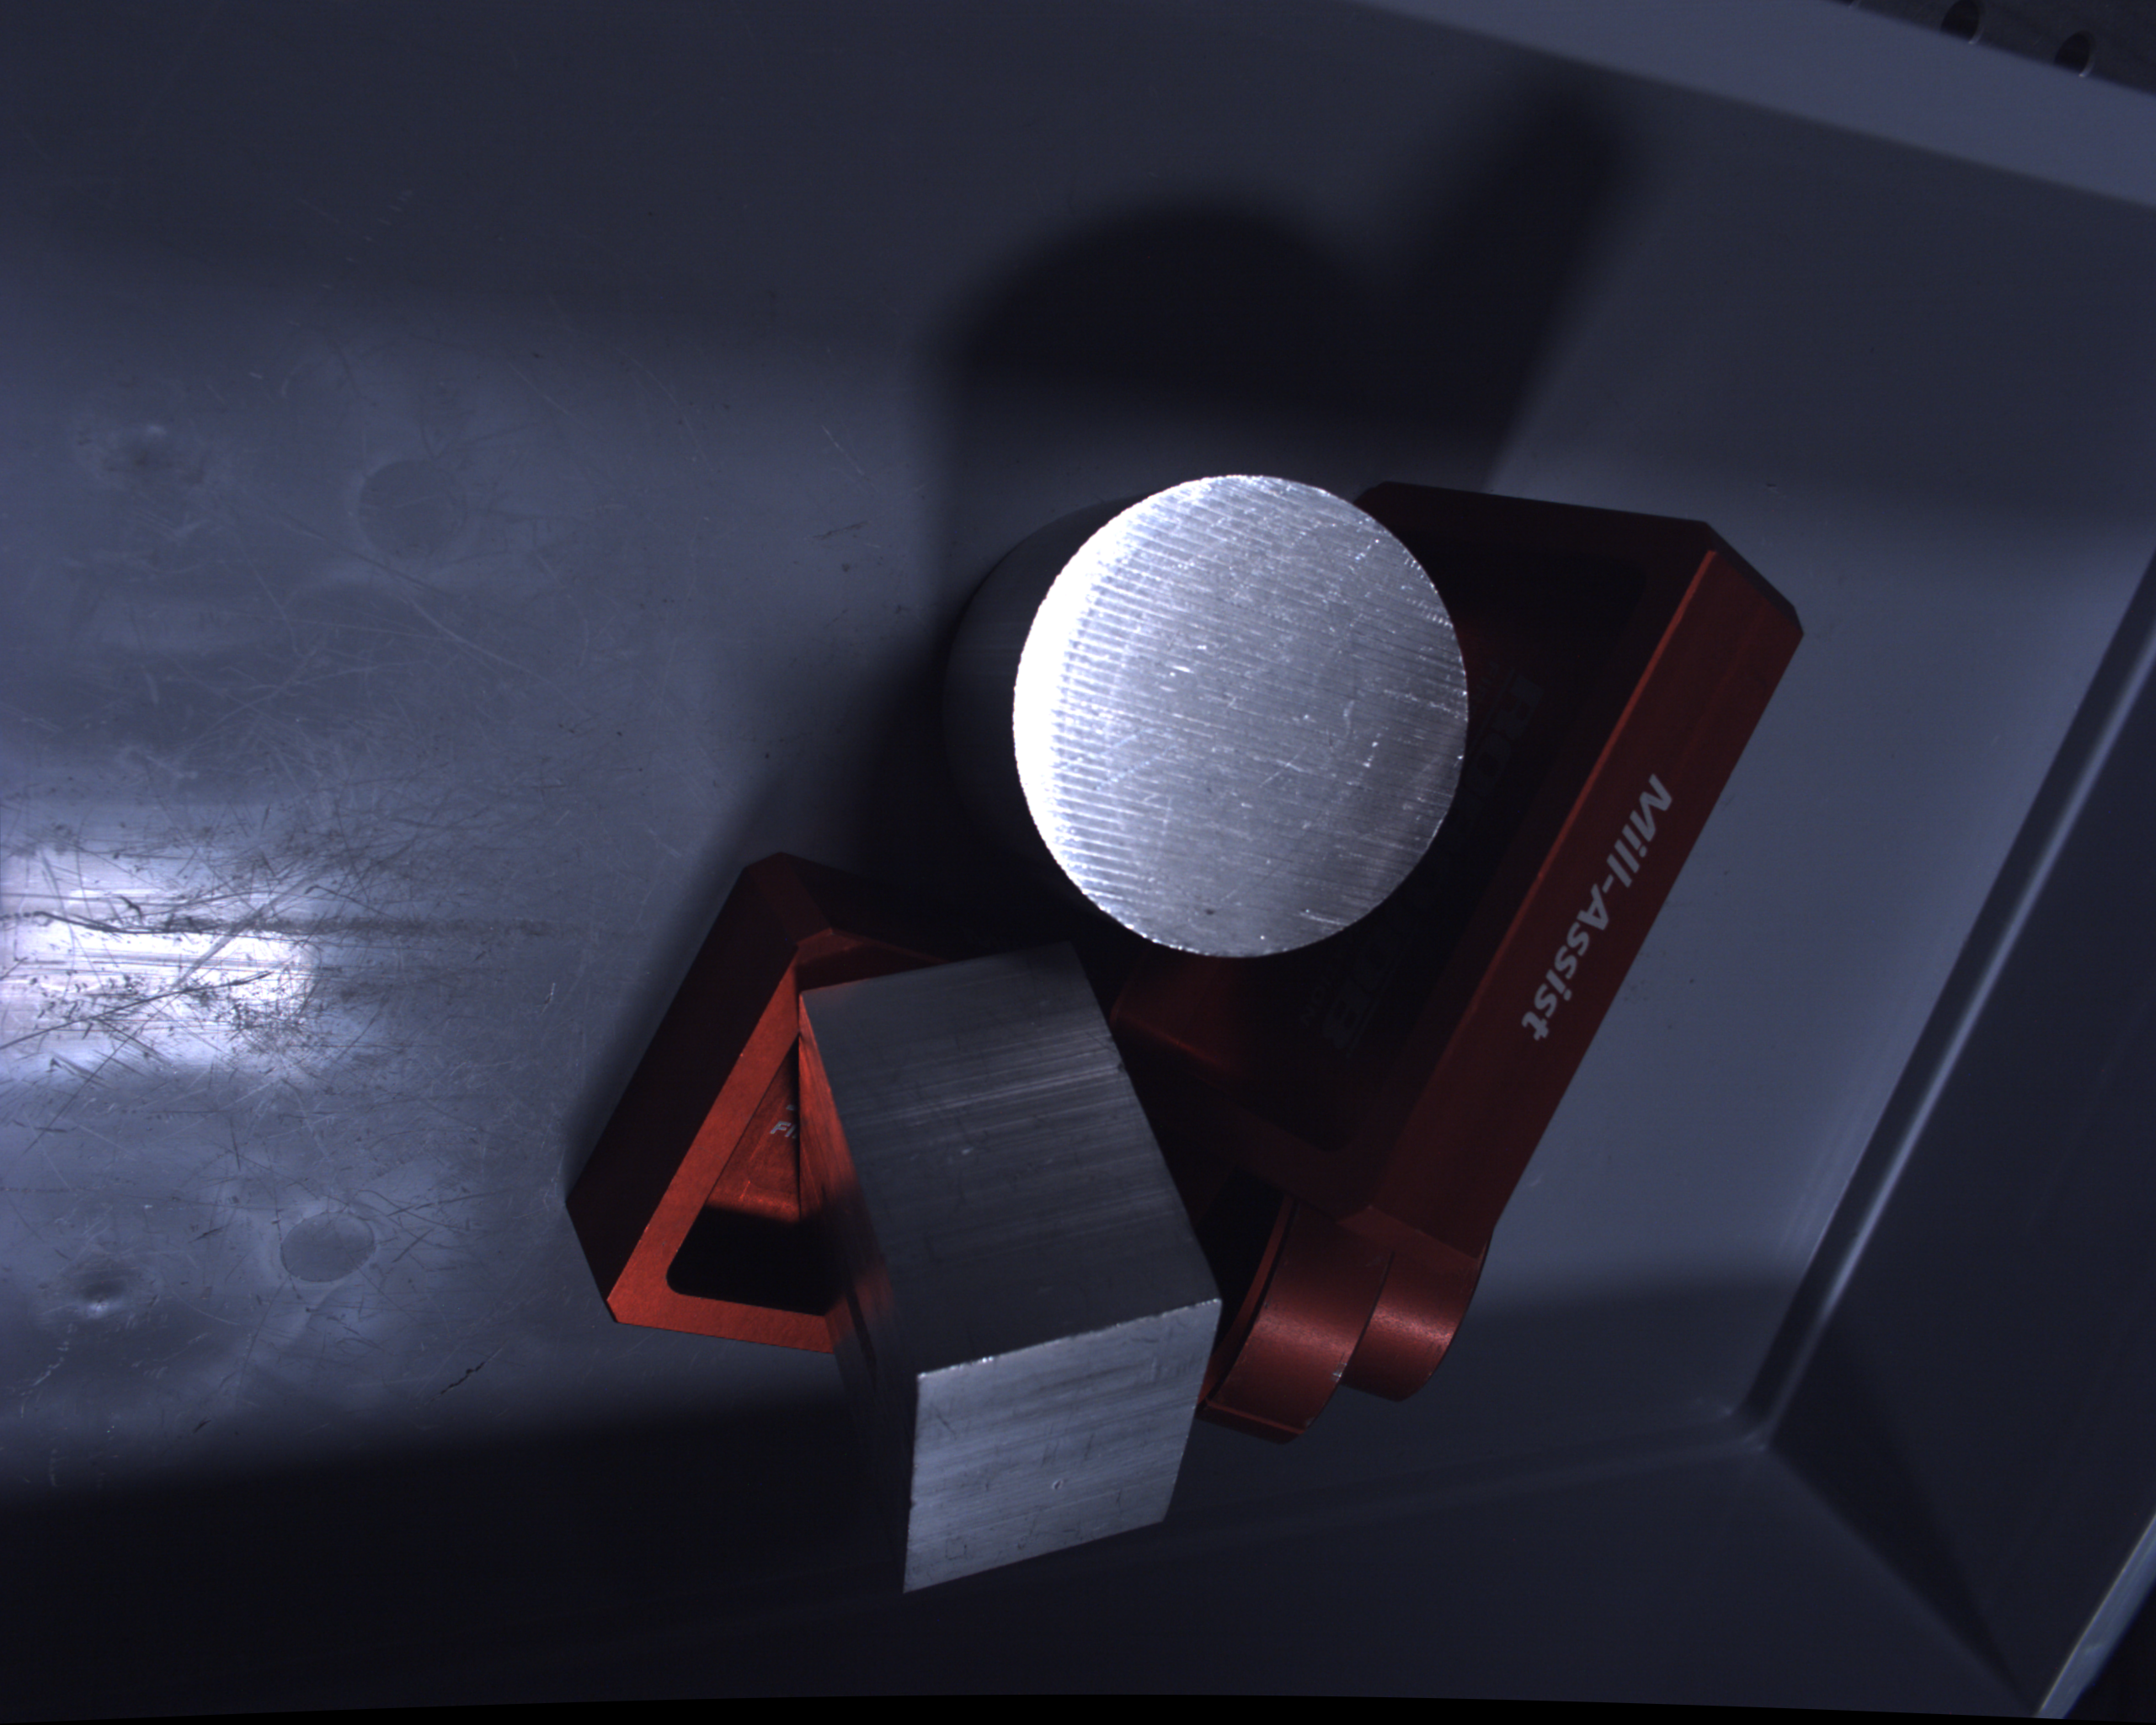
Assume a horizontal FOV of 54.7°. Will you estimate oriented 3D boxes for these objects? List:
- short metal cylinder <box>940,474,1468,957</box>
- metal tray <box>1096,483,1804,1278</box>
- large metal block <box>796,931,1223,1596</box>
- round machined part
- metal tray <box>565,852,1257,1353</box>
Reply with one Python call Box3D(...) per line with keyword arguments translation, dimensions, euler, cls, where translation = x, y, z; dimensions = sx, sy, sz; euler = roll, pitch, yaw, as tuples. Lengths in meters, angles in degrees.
Box3D(translation=(0.021, -0.026, 0.368), dimensions=(0.081, 0.050, 0.079), euler=(-2, 96, -17), cls="short metal cylinder")
Box3D(translation=(0.061, -0.002, 0.378), dimensions=(0.030, 0.090, 0.130), euler=(31, 85, -35), cls="metal tray")
Box3D(translation=(-0.017, 0.072, 0.378), dimensions=(0.050, 0.080, 0.079), euler=(-10, 139, -16), cls="large metal block")
Box3D(translation=(0.056, 0.073, 0.433), dimensions=(0.042, 0.098, 0.097), euler=(19, 112, -4), cls="round machined part")
Box3D(translation=(-0.025, 0.058, 0.426), dimensions=(0.131, 0.030, 0.090), euler=(19, 108, -36), cls="metal tray")
